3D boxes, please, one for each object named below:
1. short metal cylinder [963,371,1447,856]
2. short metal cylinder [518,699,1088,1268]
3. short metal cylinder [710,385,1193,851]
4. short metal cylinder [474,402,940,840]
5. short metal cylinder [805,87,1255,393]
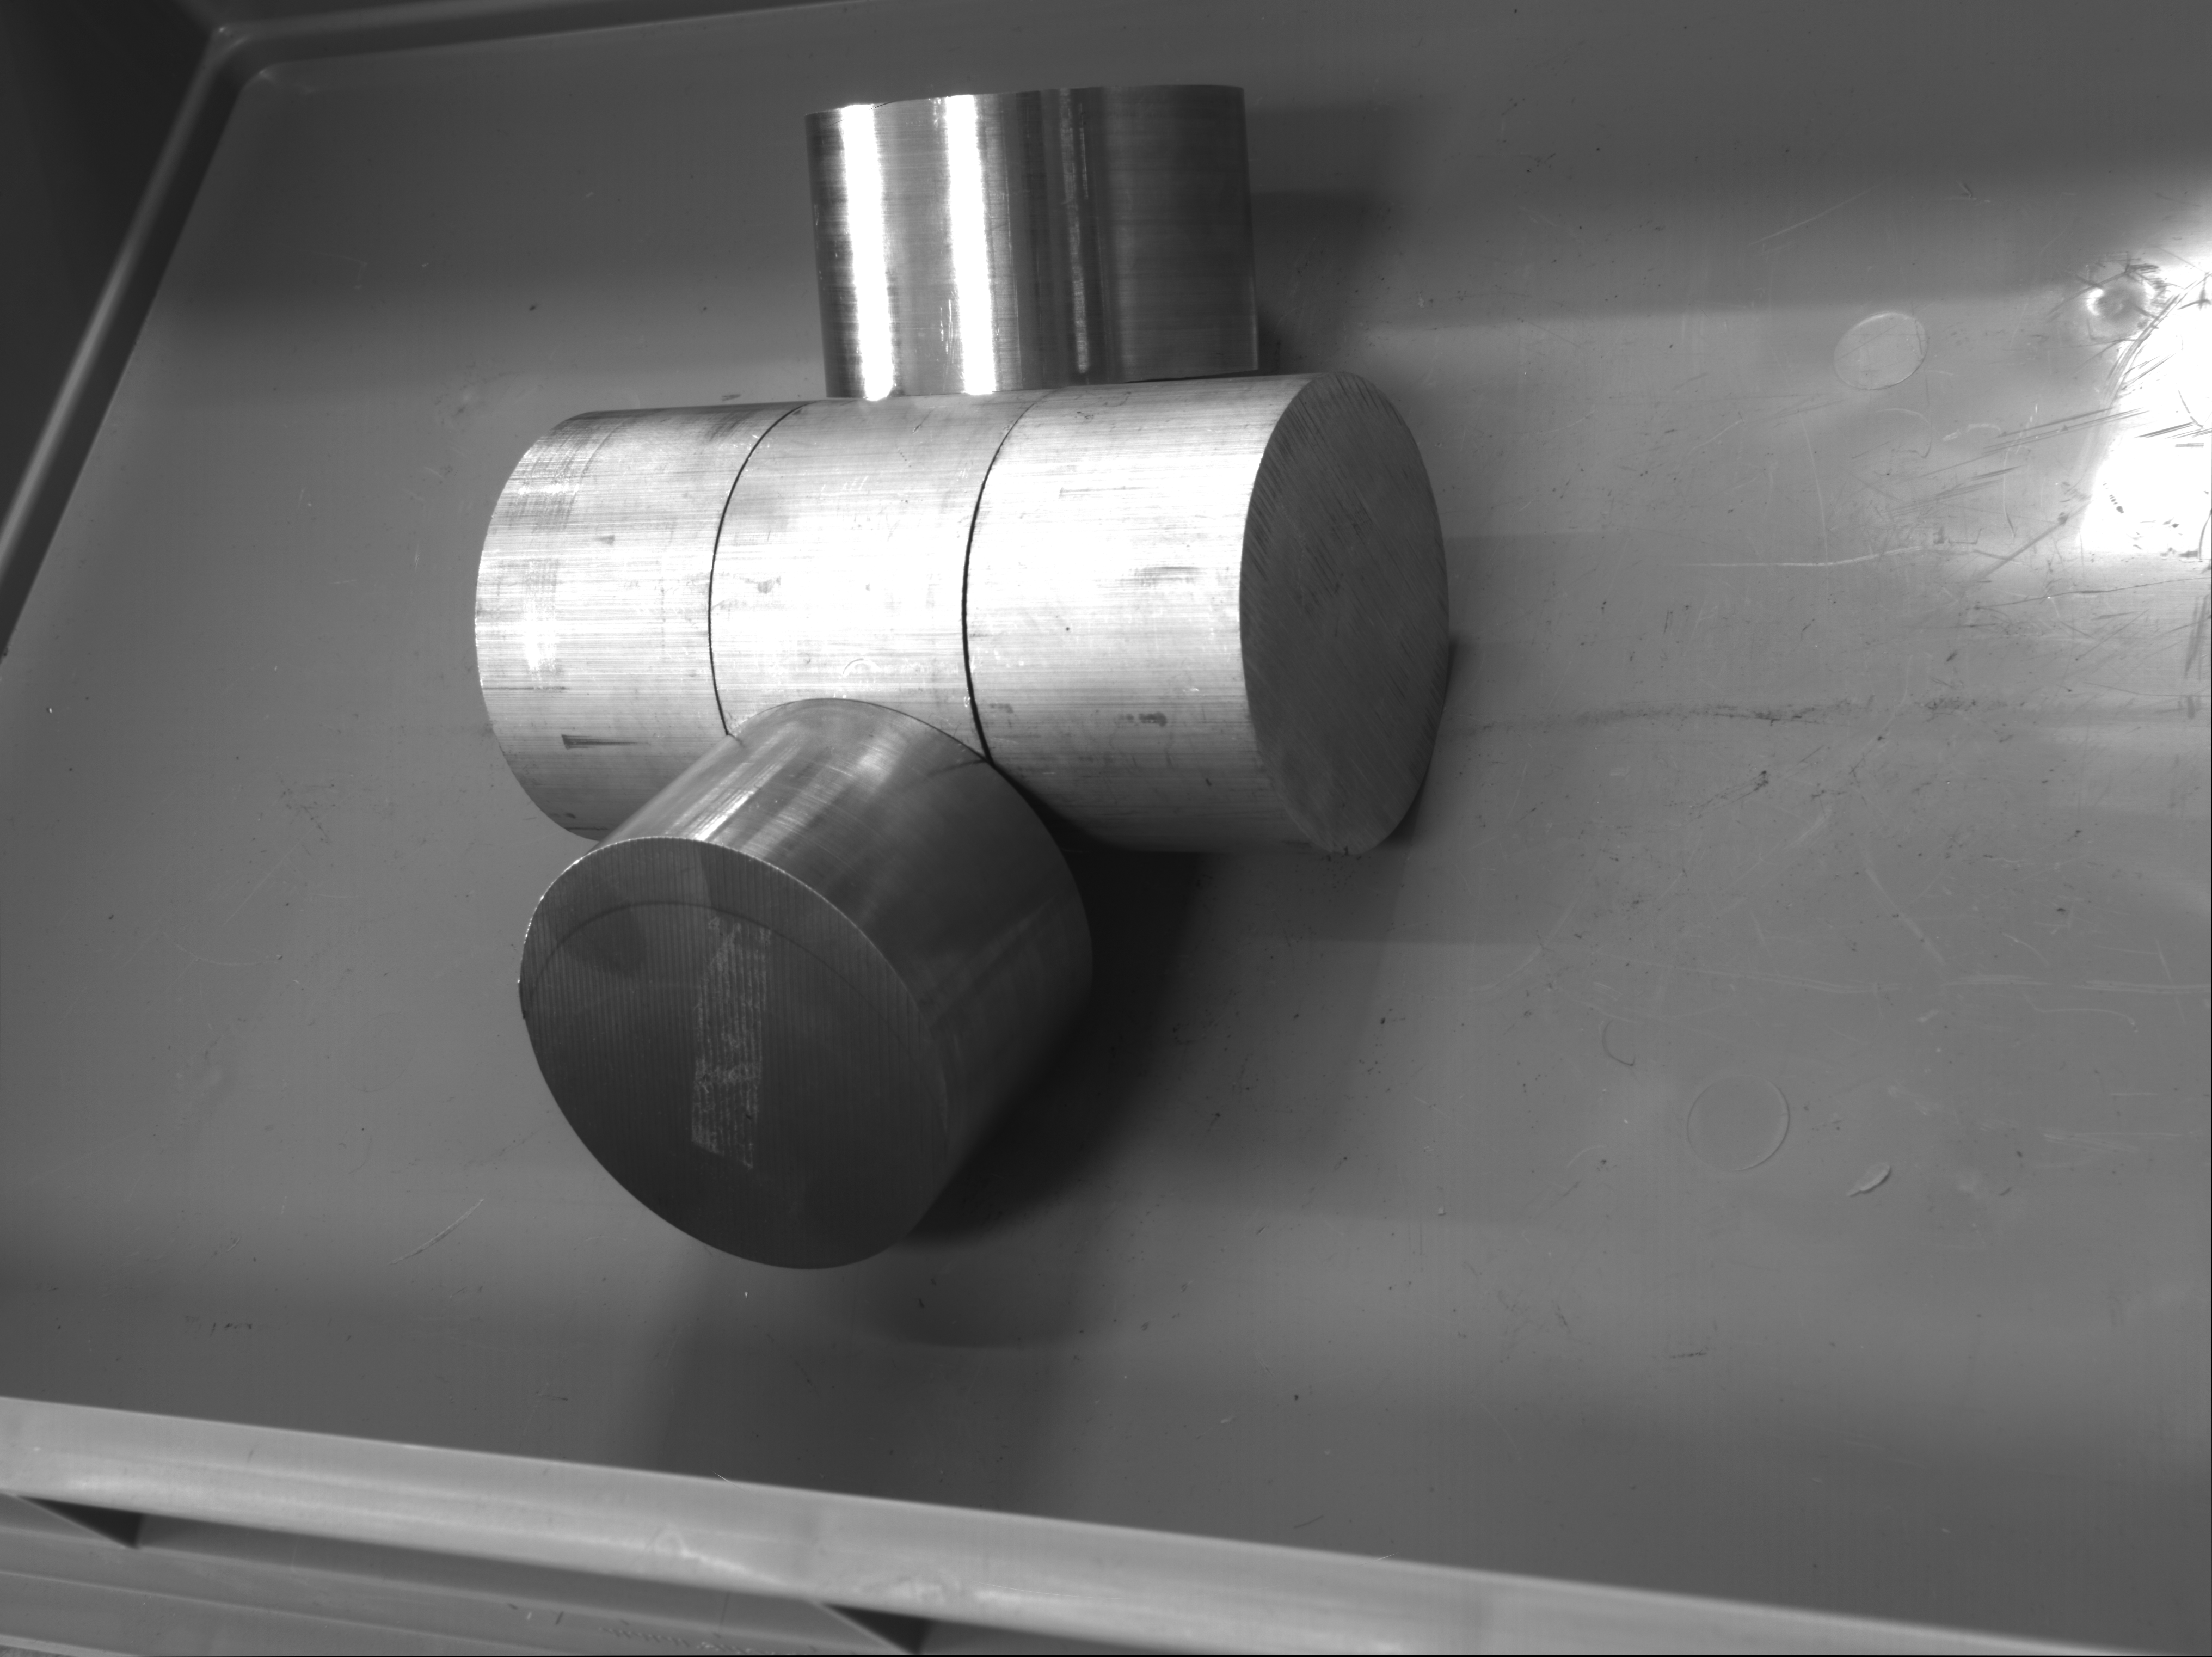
[{"bbox_3d":[0.018,-0.036,0.620,0.050,0.080,0.080,1,62,29],"label":"short metal cylinder"},{"bbox_3d":[-0.050,0.025,0.609,0.080,0.080,0.050,0,27,29],"label":"short metal cylinder"},{"bbox_3d":[-0.026,-0.037,0.644,0.050,0.080,0.080,1,62,29],"label":"short metal cylinder"},{"bbox_3d":[-0.070,-0.037,0.668,0.050,0.080,0.080,1,62,29],"label":"short metal cylinder"},{"bbox_3d":[-0.014,-0.108,0.672,0.080,0.080,0.050,2,100,29],"label":"short metal cylinder"}]
